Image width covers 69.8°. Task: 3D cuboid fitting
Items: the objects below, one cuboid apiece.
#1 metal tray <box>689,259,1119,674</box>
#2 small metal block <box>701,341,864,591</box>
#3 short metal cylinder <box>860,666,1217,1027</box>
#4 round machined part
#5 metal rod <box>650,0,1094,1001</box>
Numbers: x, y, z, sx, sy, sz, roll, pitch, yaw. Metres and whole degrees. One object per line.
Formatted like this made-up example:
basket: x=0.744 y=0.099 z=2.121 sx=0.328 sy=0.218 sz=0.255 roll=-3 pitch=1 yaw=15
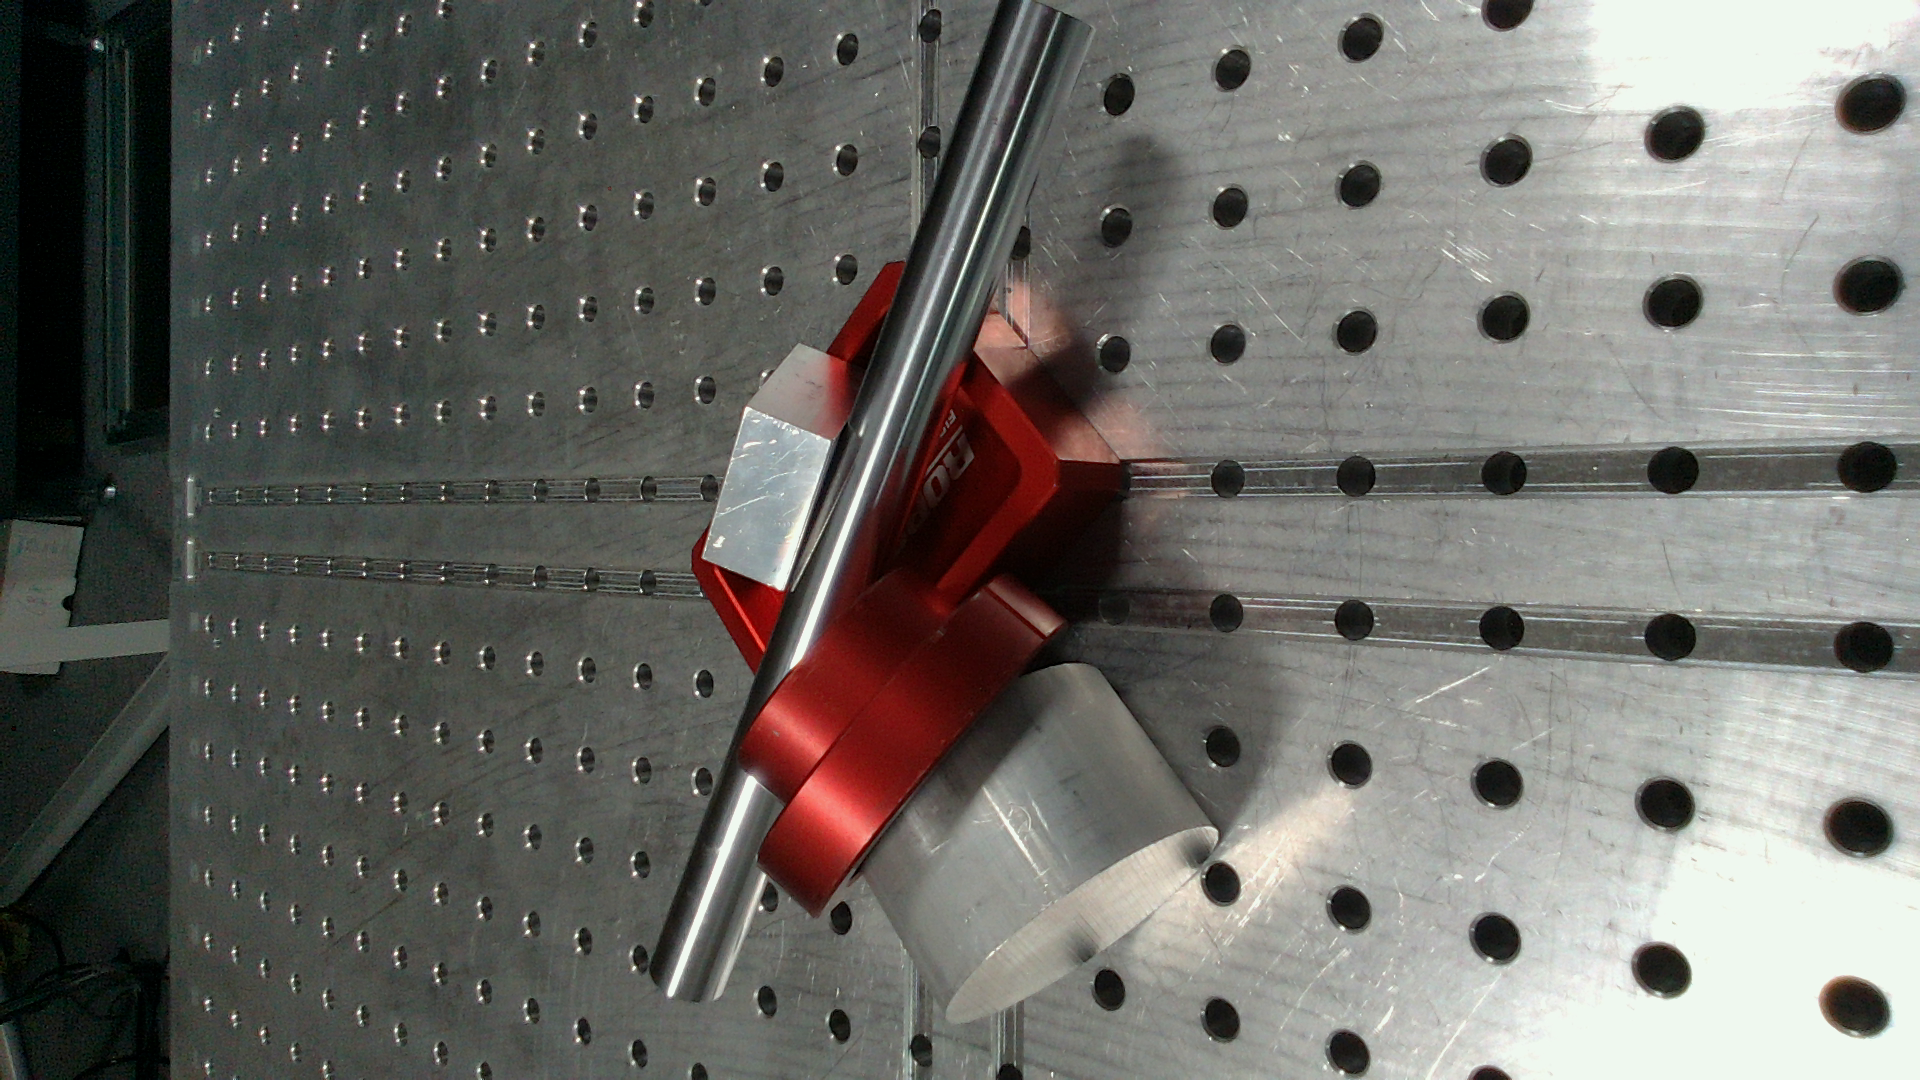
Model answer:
metal tray: x=-0.022 y=-0.006 z=0.413 sx=0.130 sy=0.030 sz=0.090 roll=-51 pitch=60 yaw=28
small metal block: x=-0.048 y=-0.022 z=0.393 sx=0.025 sy=0.050 sz=0.050 roll=22 pitch=119 yaw=0
short metal cylinder: x=0.017 y=0.077 z=0.346 sx=0.080 sy=0.080 sz=0.050 roll=-51 pitch=60 yaw=28
round machined part: x=-0.020 y=0.045 z=0.353 sx=0.042 sy=0.098 sz=0.098 roll=40 pitch=117 yaw=9
metal rod: x=-0.031 y=0.002 z=0.384 sx=0.025 sy=0.025 sz=0.300 roll=35 pitch=111 yaw=35
